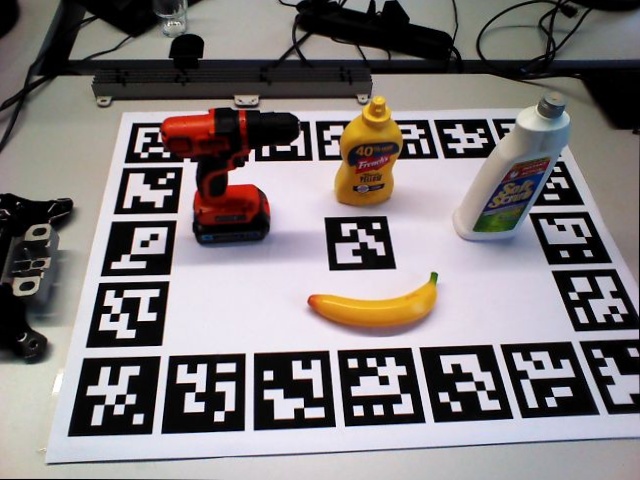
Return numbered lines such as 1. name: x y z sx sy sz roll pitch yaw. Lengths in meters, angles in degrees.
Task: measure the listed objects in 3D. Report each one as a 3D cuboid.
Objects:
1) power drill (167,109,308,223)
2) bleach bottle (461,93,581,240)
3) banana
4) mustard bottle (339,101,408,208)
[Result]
1. power drill: -0.100 -0.105 0.714 0.185 0.188 0.057 -8 56 -3
2. bleach bottle: 0.281 -0.097 0.725 0.103 0.252 0.067 6 55 1
3. banana: 0.090 0.084 0.709 0.197 0.039 0.074 -7 58 -4
4. mustard bottle: 0.085 -0.128 0.777 0.096 0.192 0.058 -7 56 -10
